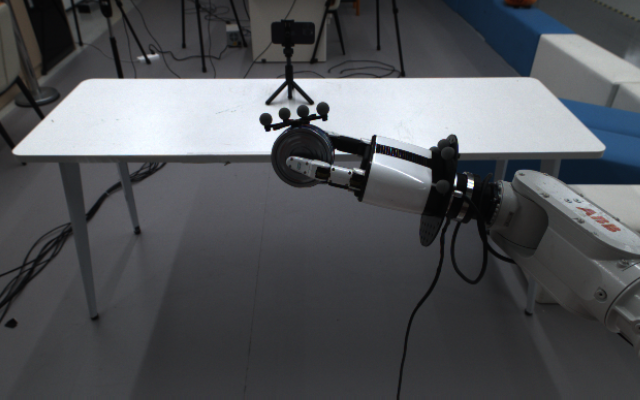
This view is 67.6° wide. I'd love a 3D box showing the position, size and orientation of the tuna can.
[{"bbox_3d":[-0.020,-0.055,0.665,0.085,0.085,0.034,6,18,5],"label":"tuna can"}]
